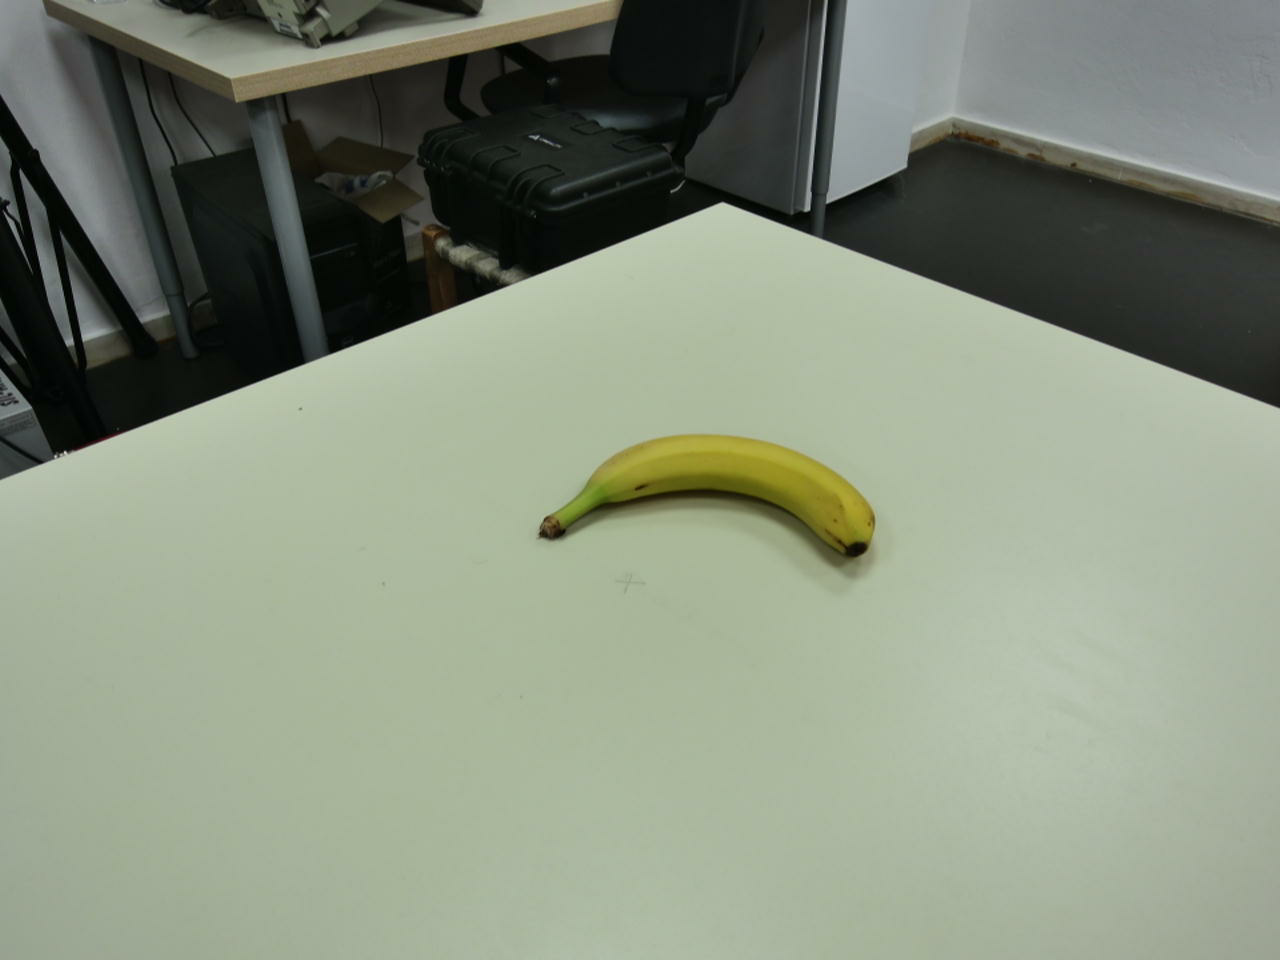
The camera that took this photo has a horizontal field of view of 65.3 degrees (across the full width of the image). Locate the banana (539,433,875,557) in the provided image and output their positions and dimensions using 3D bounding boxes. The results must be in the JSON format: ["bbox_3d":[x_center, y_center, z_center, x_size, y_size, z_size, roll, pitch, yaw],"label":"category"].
[{"bbox_3d":[0.042,0.006,0.616,0.196,0.041,0.094,8,37,11],"label":"banana"}]
